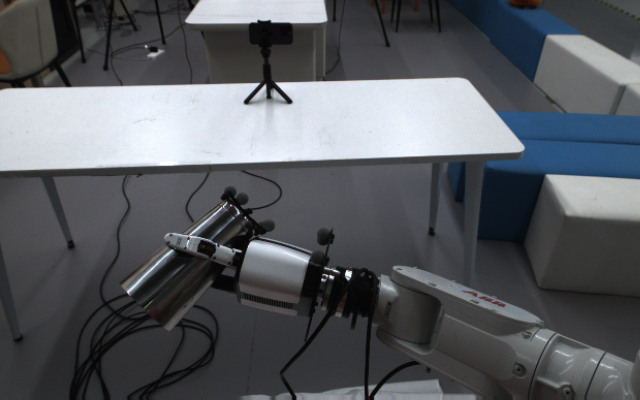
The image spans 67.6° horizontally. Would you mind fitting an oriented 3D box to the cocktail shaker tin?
[{"bbox_3d":[-0.170,0.077,0.650,0.093,0.093,0.170,32,66,36],"label":"cocktail shaker tin"}]
